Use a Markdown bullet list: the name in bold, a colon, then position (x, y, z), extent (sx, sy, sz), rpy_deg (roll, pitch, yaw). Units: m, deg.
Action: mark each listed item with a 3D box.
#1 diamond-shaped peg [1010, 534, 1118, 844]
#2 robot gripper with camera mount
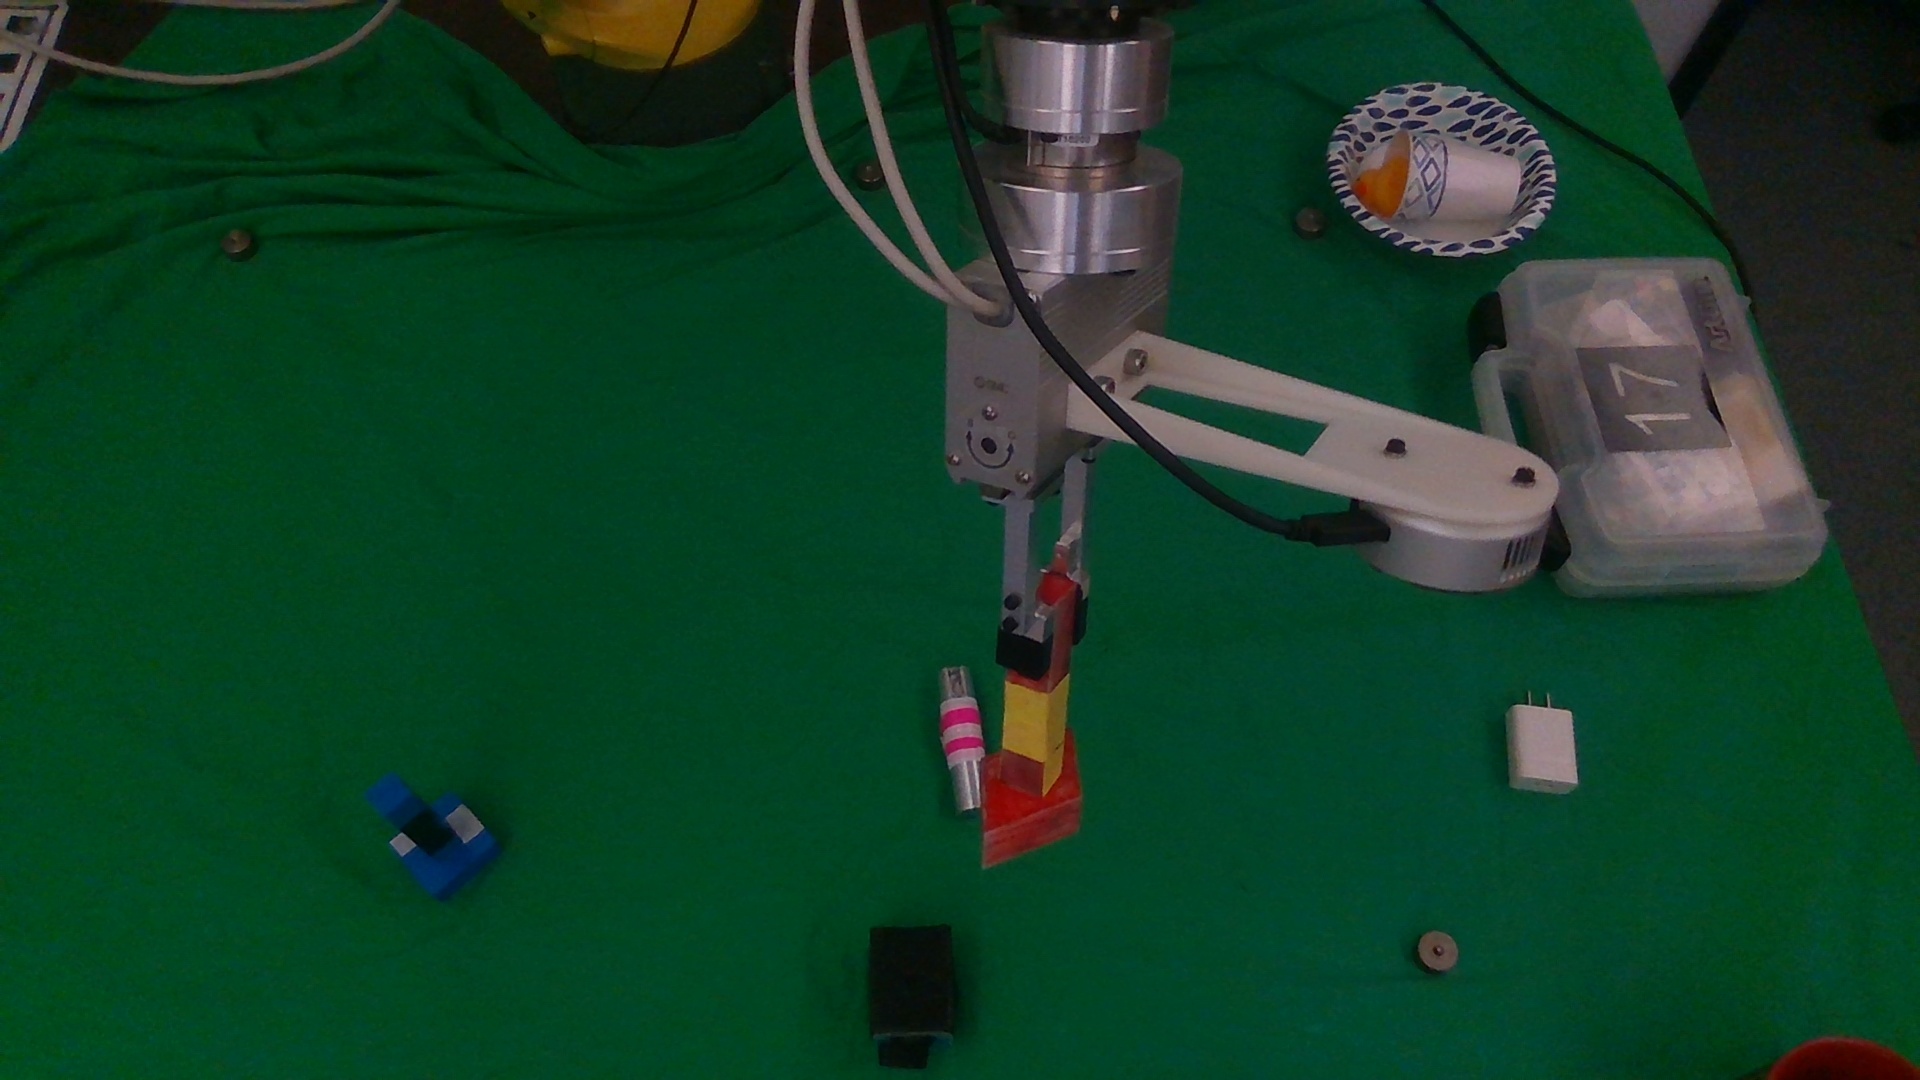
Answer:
- **diamond-shaped peg**: position (0.043, 0.056, 0.575), extent (0.045, 0.122, 0.074), rpy_deg (0, 28, 3)
- **robot gripper with camera mount**: position (0.115, -0.020, 0.496), extent (0.194, 0.158, 0.118), rpy_deg (14, 31, 20)
